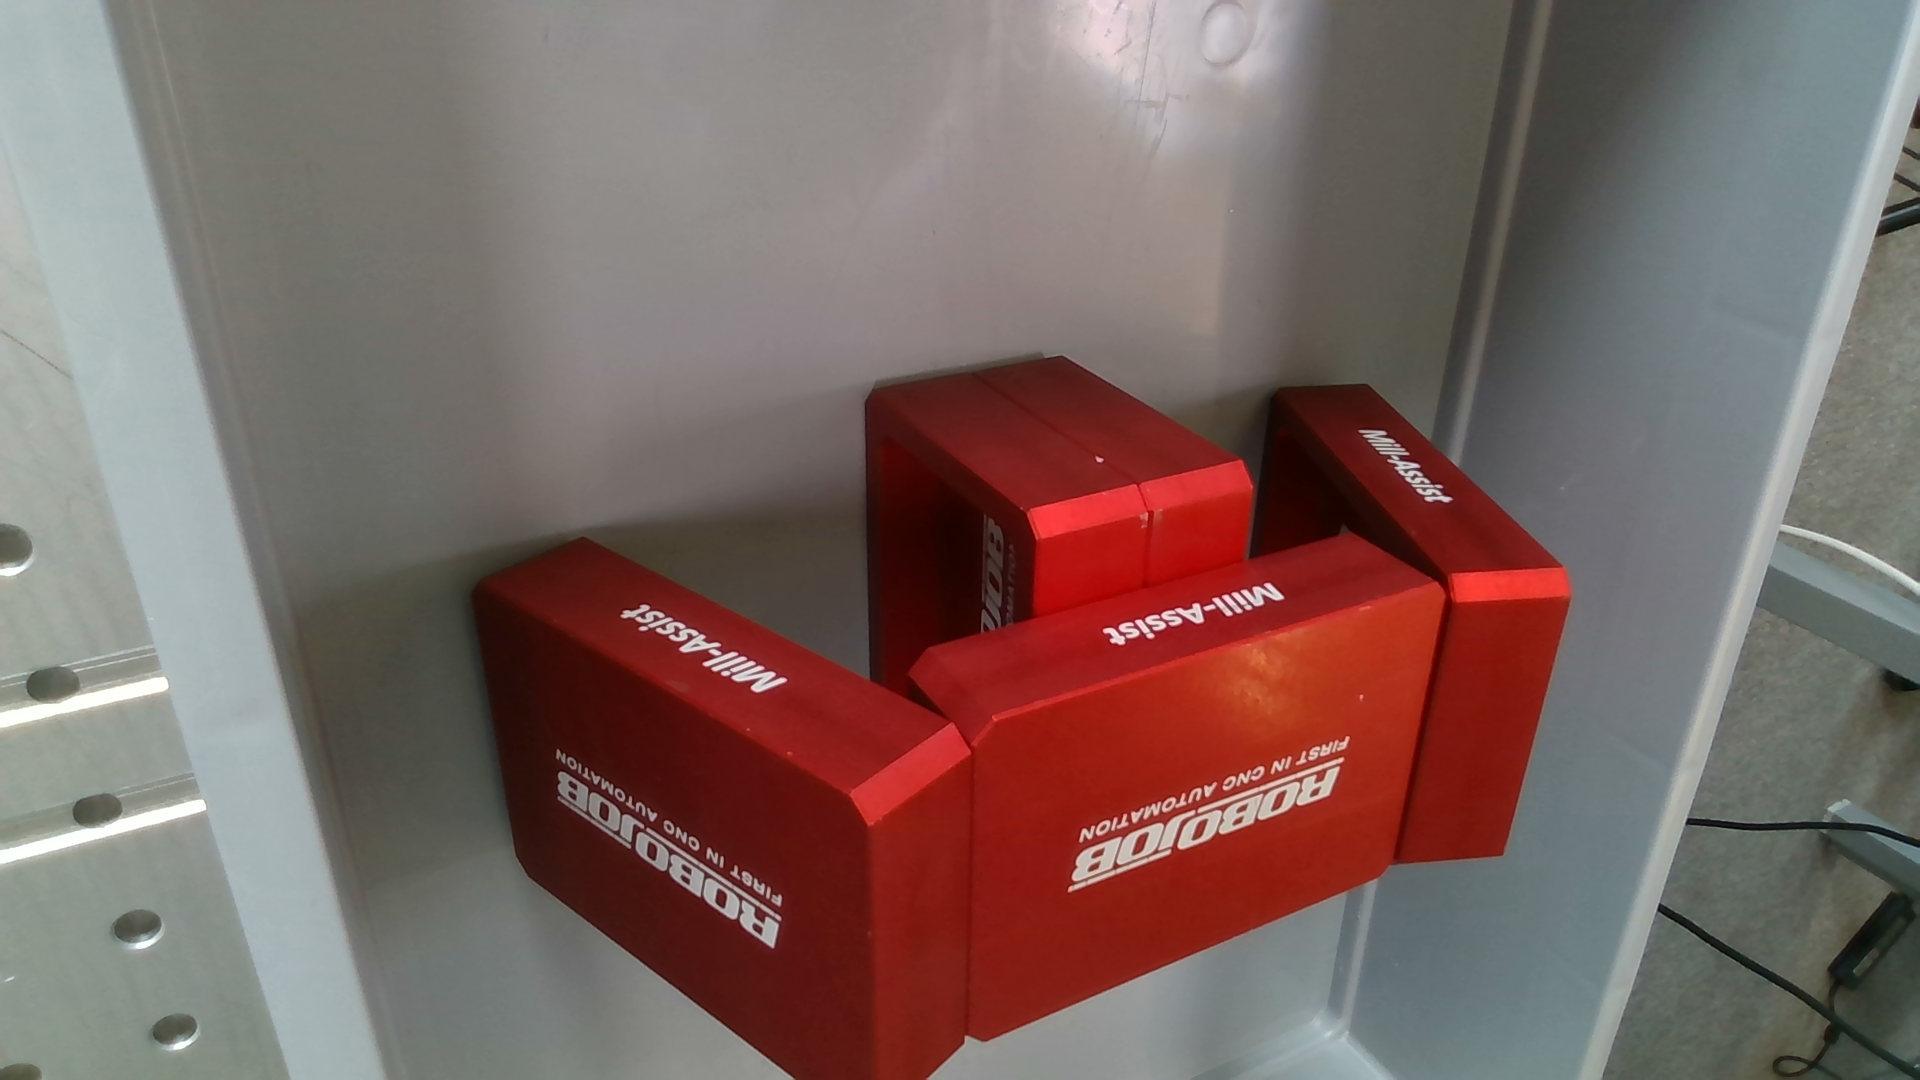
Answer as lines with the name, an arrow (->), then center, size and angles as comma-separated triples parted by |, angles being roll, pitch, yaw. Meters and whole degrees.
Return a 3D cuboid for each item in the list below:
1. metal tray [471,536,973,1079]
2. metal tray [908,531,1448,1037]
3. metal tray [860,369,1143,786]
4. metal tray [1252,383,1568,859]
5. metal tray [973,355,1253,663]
metal tray -> -0.057, 0.062, 0.318 | 0.030, 0.130, 0.090 | -30, 131, -43
metal tray -> 0.052, 0.056, 0.331 | 0.130, 0.030, 0.090 | -14, 122, -25
metal tray -> 0.007, 0.031, 0.368 | 0.030, 0.090, 0.130 | -14, 121, -25
metal tray -> 0.123, 0.018, 0.405 | 0.030, 0.130, 0.090 | -3, 118, -8
metal tray -> 0.035, 0.024, 0.382 | 0.030, 0.090, 0.130 | -14, 121, -25
